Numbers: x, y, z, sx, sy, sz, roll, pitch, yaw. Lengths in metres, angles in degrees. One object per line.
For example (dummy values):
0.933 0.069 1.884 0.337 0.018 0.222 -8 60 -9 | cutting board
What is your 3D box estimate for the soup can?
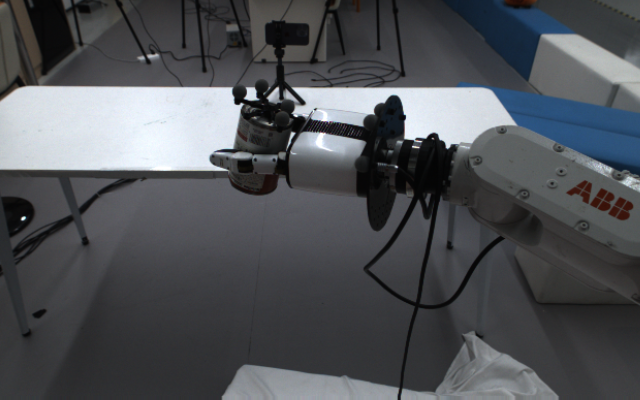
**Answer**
-0.076 -0.065 0.617 0.067 0.101 0.067 13 35 -9 | soup can
